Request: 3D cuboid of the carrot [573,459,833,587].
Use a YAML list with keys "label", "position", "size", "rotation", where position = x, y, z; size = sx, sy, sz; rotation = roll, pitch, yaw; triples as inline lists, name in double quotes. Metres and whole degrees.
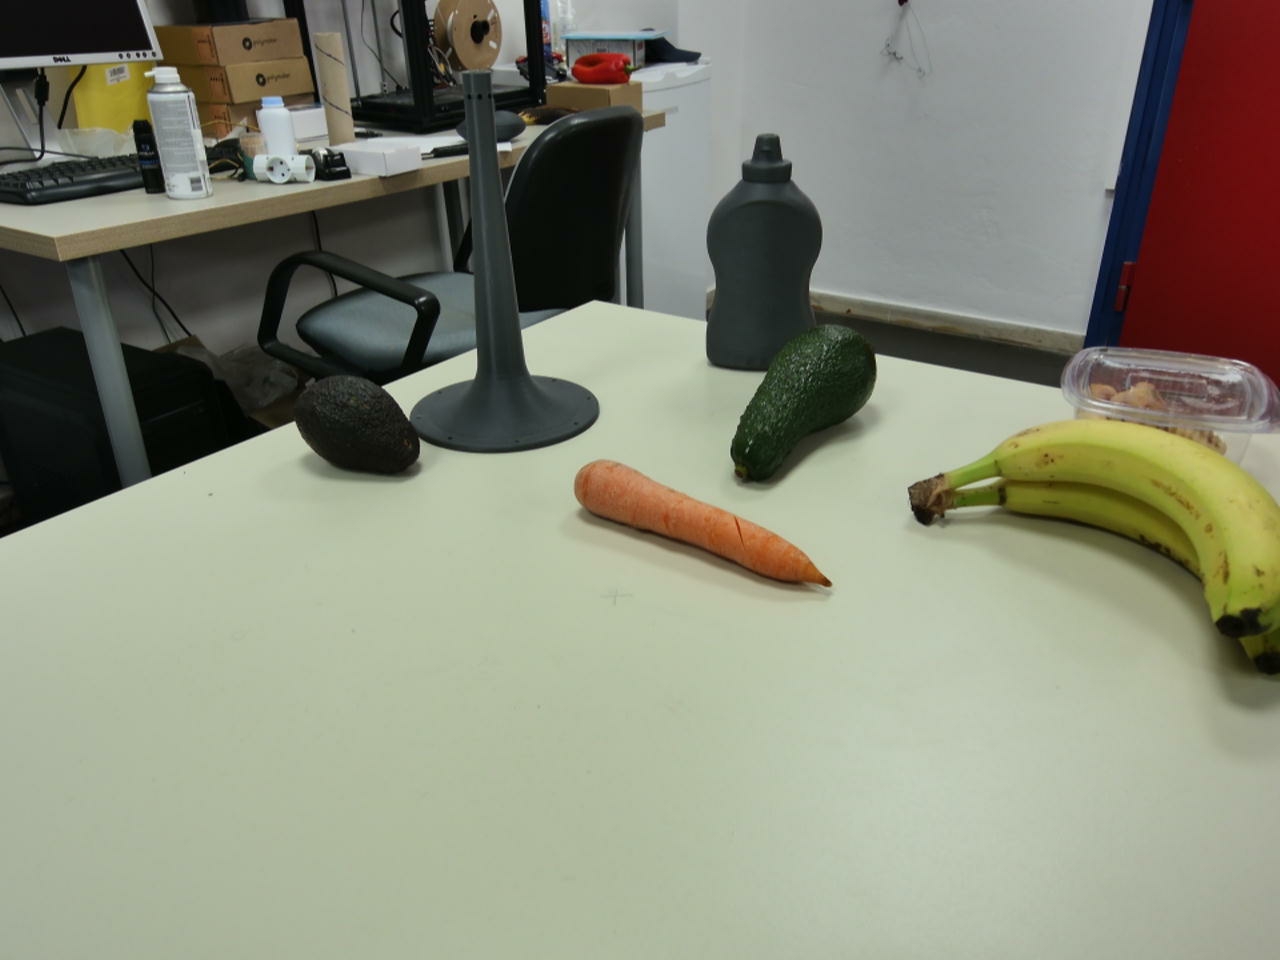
- label: "carrot"
  position: [0.038, 0.025, 0.649]
  size: [0.196, 0.041, 0.039]
  rotation: [18, 30, 32]
